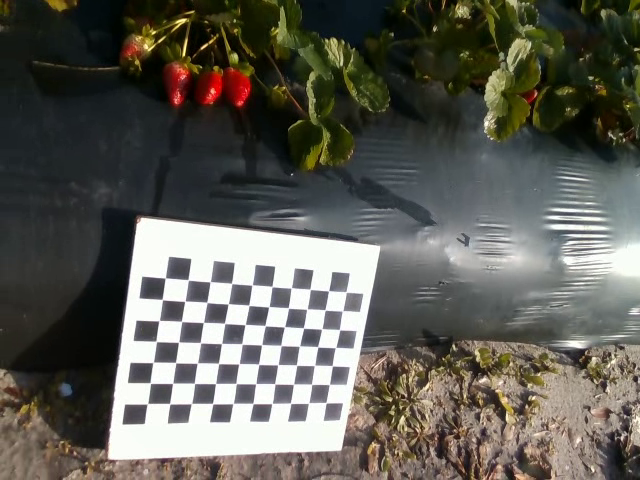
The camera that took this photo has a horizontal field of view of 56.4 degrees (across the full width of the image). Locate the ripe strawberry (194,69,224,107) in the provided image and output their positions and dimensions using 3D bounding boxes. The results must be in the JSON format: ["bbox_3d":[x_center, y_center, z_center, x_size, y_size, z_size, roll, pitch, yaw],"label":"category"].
[{"bbox_3d":[-0.108,-0.148,0.572,0.030,0.037,0.039,16,29,-21],"label":"ripe strawberry"}]

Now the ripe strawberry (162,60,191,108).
[{"bbox_3d":[-0.138,-0.151,0.568,0.031,0.046,0.023,5,-7,-21],"label":"ripe strawberry"}]

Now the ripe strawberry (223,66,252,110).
[{"bbox_3d":[-0.083,-0.146,0.586,0.035,0.041,0.034,1,-42,-20],"label":"ripe strawberry"}]
